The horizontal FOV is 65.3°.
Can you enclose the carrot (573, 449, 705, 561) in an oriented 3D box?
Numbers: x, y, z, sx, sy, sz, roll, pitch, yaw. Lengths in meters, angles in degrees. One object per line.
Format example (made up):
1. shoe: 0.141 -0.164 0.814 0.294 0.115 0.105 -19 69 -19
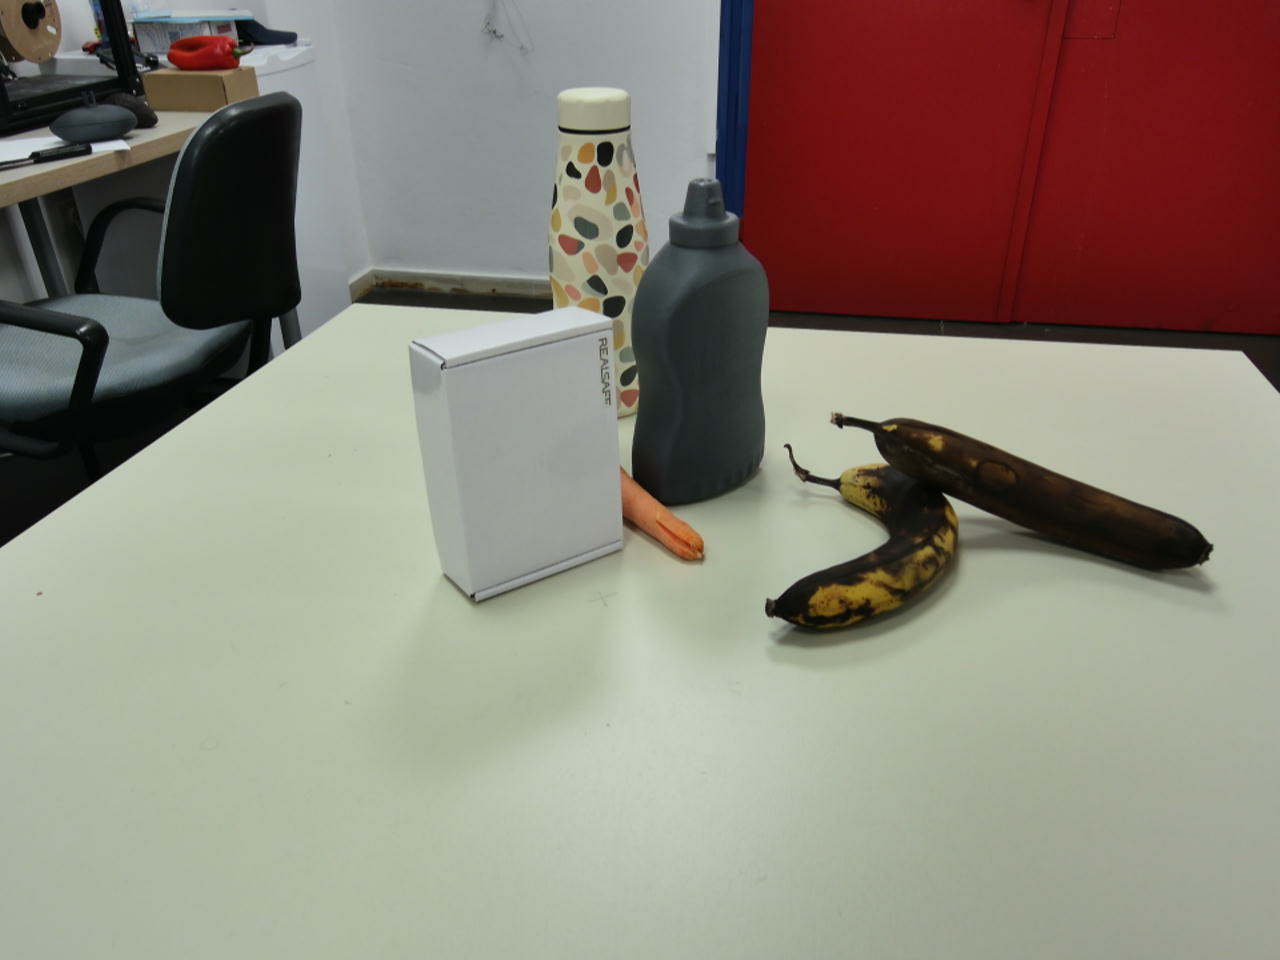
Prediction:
1. carrot: -0.003 0.013 0.647 0.030 0.032 0.136 -16 30 -29
